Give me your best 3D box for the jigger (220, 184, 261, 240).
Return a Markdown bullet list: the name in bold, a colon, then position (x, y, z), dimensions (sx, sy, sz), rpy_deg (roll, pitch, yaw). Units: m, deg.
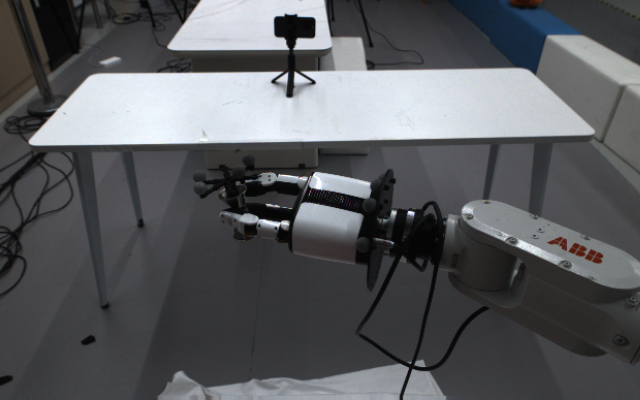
- **jigger**: position (-0.108, 0.017, 0.666), dimensions (0.043, 0.071, 0.043), rpy_deg (-12, 29, 7)
